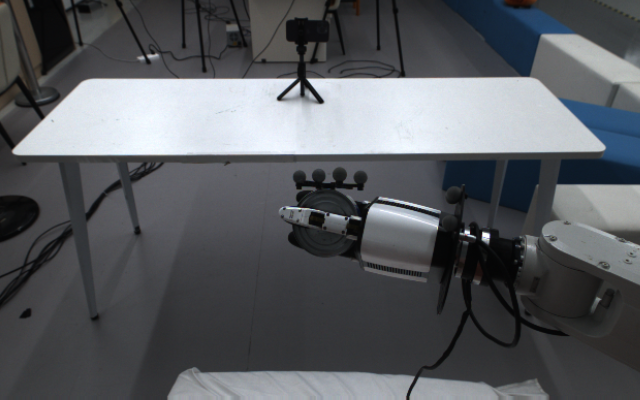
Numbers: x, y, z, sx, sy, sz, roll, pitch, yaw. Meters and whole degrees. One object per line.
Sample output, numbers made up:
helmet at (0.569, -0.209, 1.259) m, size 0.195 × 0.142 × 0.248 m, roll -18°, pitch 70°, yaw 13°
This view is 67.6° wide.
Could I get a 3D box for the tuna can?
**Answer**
tuna can at (0.013, 0.033, 0.611) m, size 0.085 × 0.085 × 0.034 m, roll 12°, pitch 0°, yaw 14°
